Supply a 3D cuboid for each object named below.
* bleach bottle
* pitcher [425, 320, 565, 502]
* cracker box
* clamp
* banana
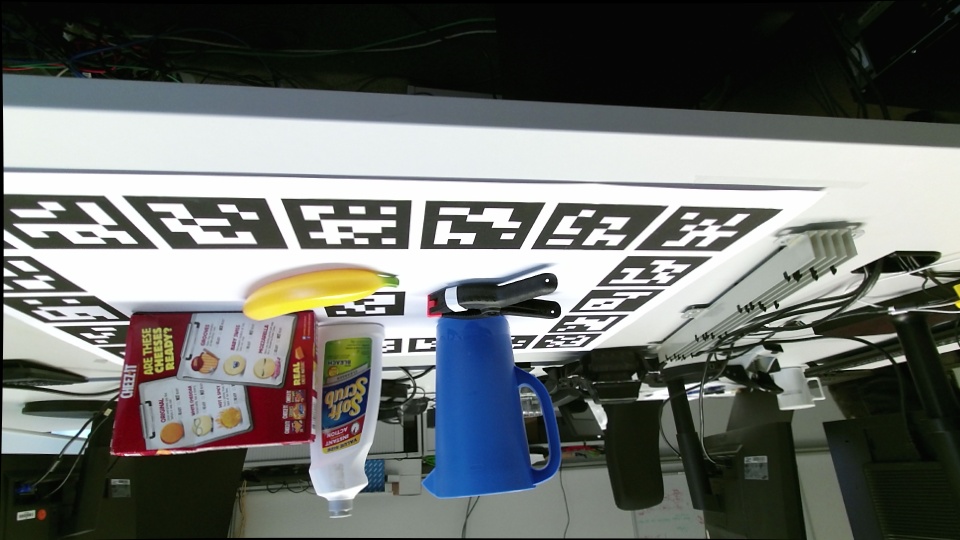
[{"bbox_3d":[-0.177,0.194,0.751,0.103,0.249,0.068,-1,159,-10],"label":"bleach bottle"},{"bbox_3d":[0.016,0.197,0.741,0.189,0.241,0.133,-5,159,8],"label":"pitcher"},{"bbox_3d":[-0.319,0.141,0.665,0.214,0.163,0.072,-1,161,-13],"label":"cracker box"},{"bbox_3d":[0.018,0.032,0.663,0.166,0.036,0.122,-5,160,6],"label":"clamp"},{"bbox_3d":[-0.196,0.017,0.604,0.198,0.038,0.074,-13,157,21],"label":"banana"}]
